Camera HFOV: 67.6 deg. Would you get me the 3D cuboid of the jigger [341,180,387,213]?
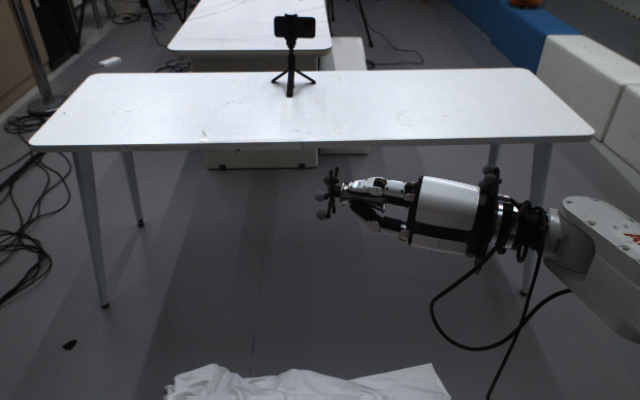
[{"bbox_3d":[0.075,-0.011,0.754,0.071,0.043,0.043,8,35,14],"label":"jigger"}]
